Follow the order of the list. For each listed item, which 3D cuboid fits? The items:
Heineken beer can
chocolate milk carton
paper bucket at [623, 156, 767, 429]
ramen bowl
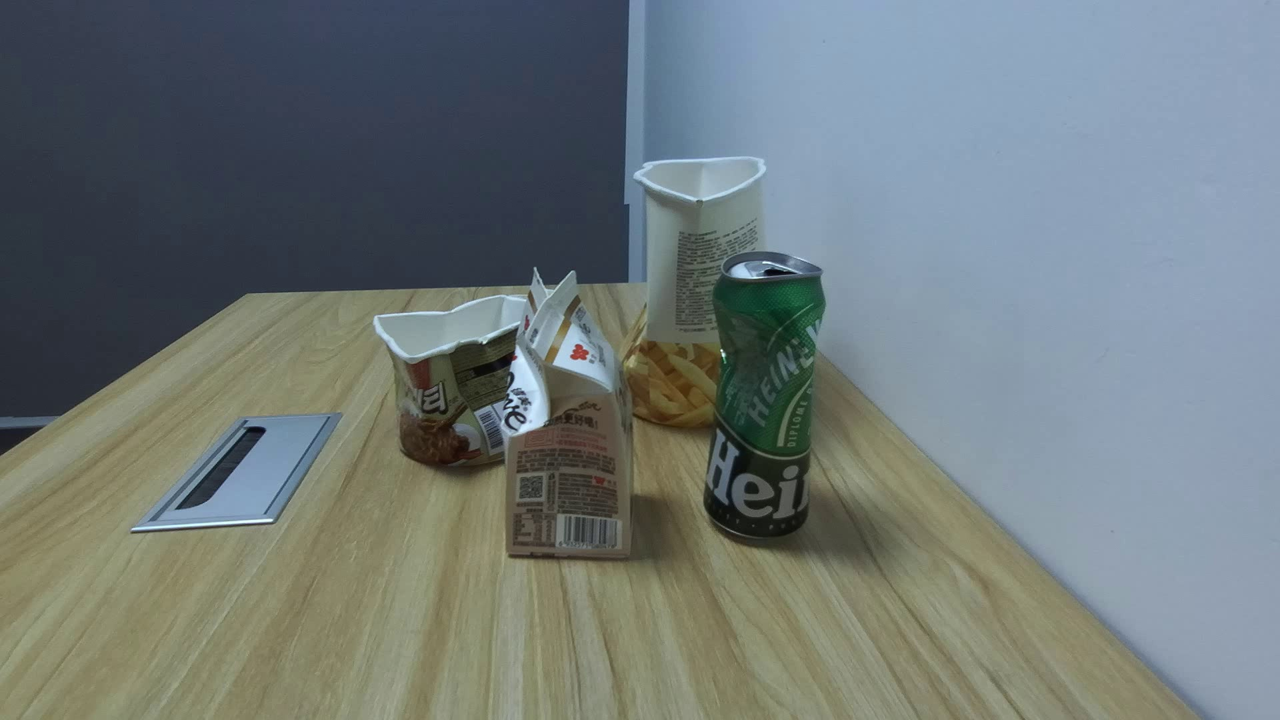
[{"bbox_3d":[0.073,0.023,0.415,0.066,0.164,0.078,7,24,20],"label":"Heineken beer can"},{"bbox_3d":[-0.042,0.028,0.410,0.073,0.155,0.076,-1,22,3],"label":"chocolate milk carton"},{"bbox_3d":[0.044,-0.062,0.585,0.148,0.199,0.217,-10,23,-25],"label":"paper bucket"},{"bbox_3d":[-0.124,0.012,0.539,0.129,0.093,0.111,-15,26,-32],"label":"ramen bowl"}]
